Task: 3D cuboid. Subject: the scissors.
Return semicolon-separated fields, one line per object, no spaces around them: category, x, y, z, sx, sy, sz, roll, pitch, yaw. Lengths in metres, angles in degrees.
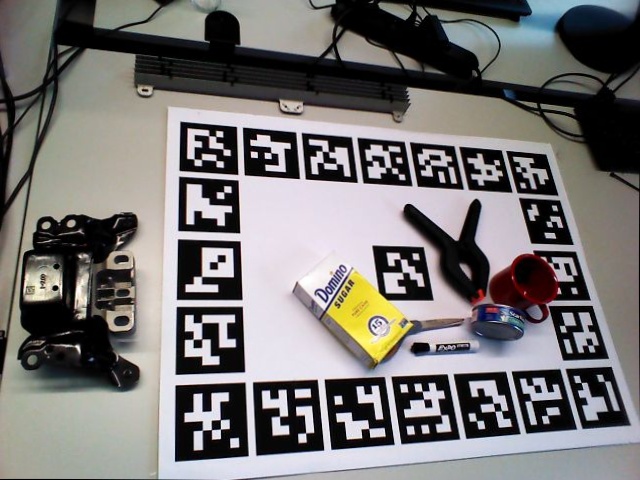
scissors;0.157;0.139;0.854;0.202;0.016;0.087;-8;66;-21

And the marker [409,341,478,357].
marker;0.203;0.180;0.853;0.121;0.020;0.019;-1;69;-16

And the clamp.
clamp;0.258;0.019;0.940;0.165;0.037;0.202;-8;71;-20

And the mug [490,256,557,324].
mug;0.360;0.095;0.903;0.093;0.082;0.117;-25;73;-25

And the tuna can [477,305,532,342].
tuna can;0.307;0.140;0.863;0.086;0.086;0.033;18;63;-8

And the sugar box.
sugar box;0.056;0.108;0.821;0.092;0.045;0.176;-36;75;-26
